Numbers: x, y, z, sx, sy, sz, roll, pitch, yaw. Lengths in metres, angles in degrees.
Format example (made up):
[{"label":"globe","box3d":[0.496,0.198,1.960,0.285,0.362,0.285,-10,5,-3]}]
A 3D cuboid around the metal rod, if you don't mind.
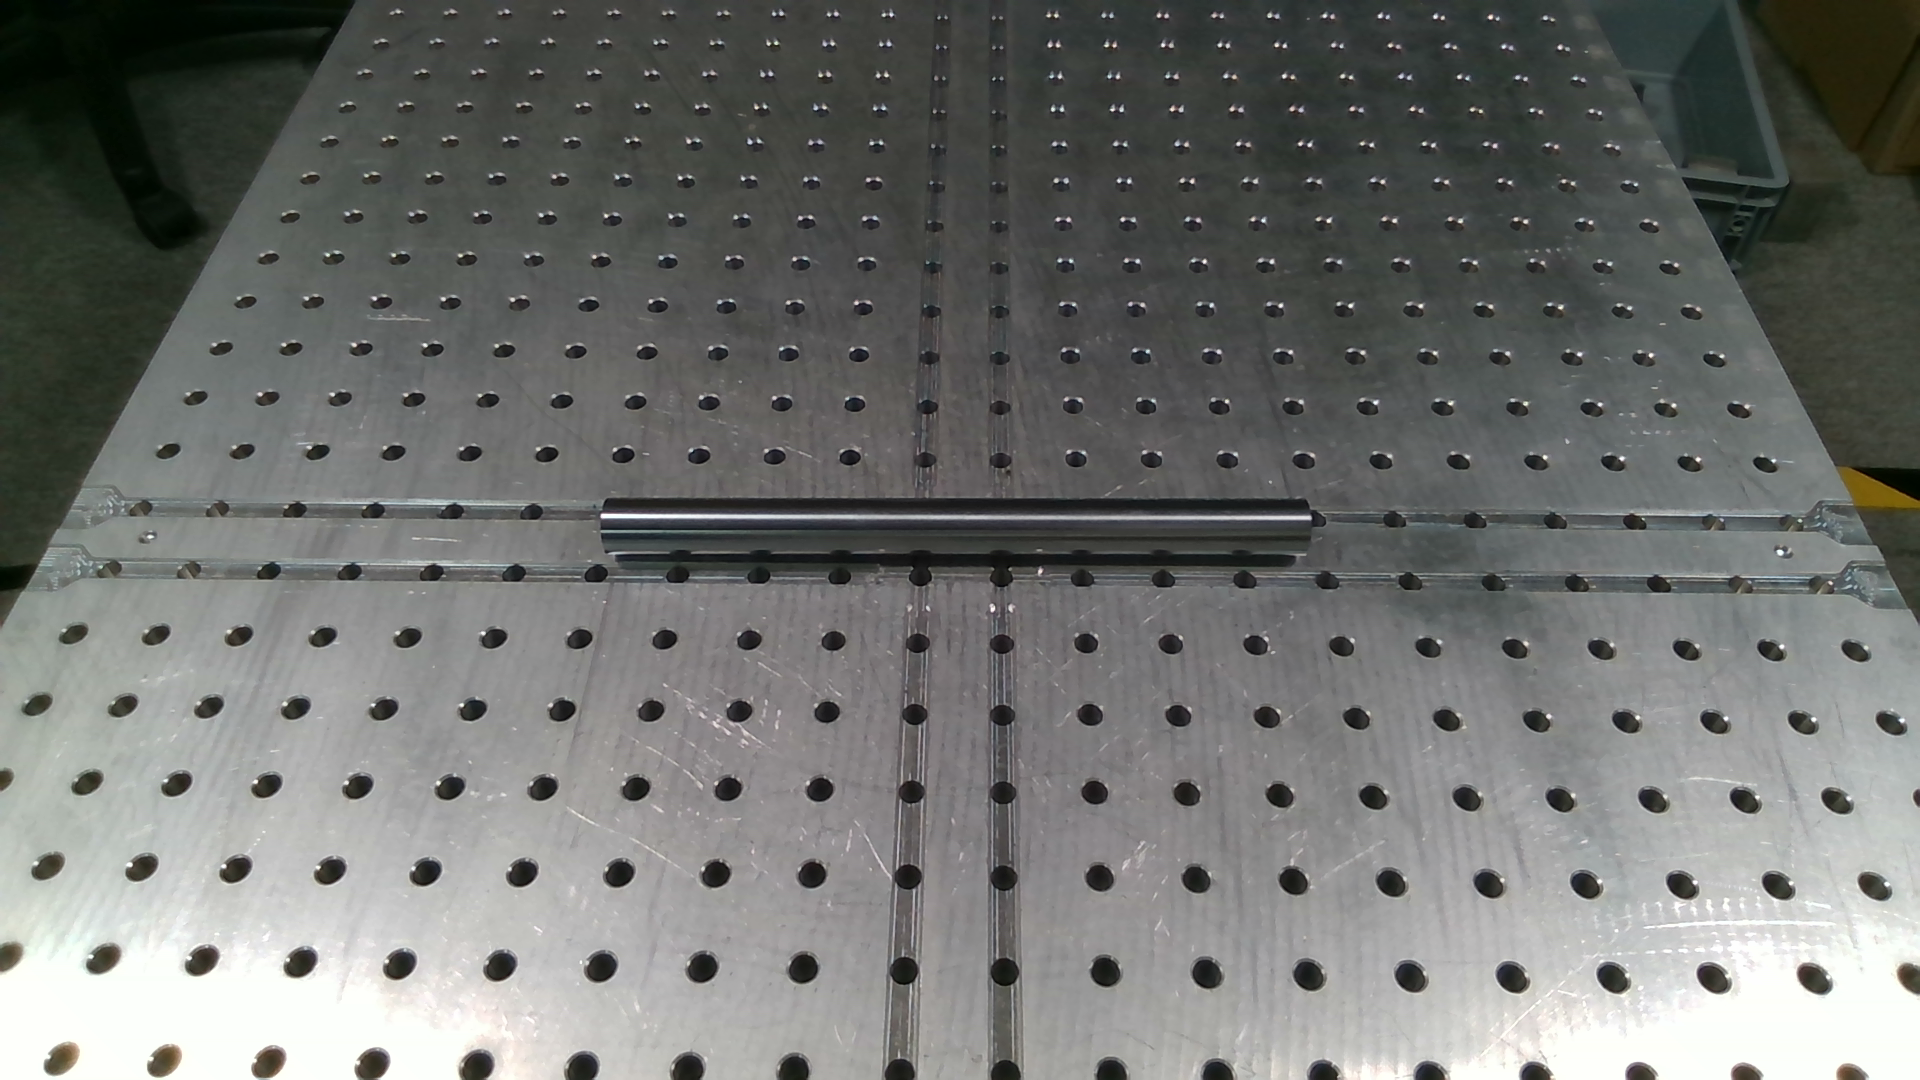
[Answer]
[{"label":"metal rod","box3d":[-0.002,-0.006,0.595,0.300,0.025,0.025,0,50,0]}]
